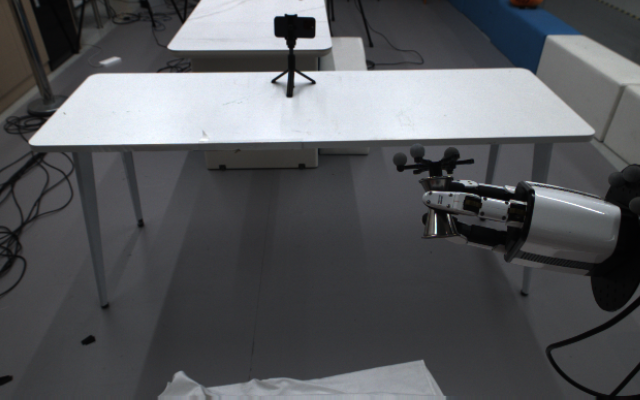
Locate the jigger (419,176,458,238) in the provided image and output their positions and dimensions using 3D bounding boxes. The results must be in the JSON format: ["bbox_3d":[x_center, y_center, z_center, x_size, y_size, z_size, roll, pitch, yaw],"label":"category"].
[{"bbox_3d":[0.136,0.008,0.560,0.043,0.071,0.043,-2,-7,0],"label":"jigger"}]
